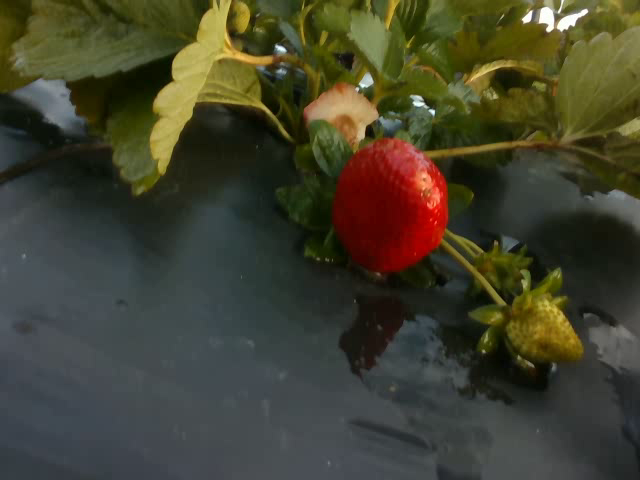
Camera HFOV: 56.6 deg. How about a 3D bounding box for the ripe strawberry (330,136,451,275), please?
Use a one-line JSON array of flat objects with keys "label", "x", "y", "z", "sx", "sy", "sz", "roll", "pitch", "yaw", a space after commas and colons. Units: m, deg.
[{"label": "ripe strawberry", "x": 0.029, "y": -0.013, "z": 0.197, "sx": 0.043, "sy": 0.052, "sz": 0.057, "roll": -9, "pitch": -5, "yaw": -7}]
